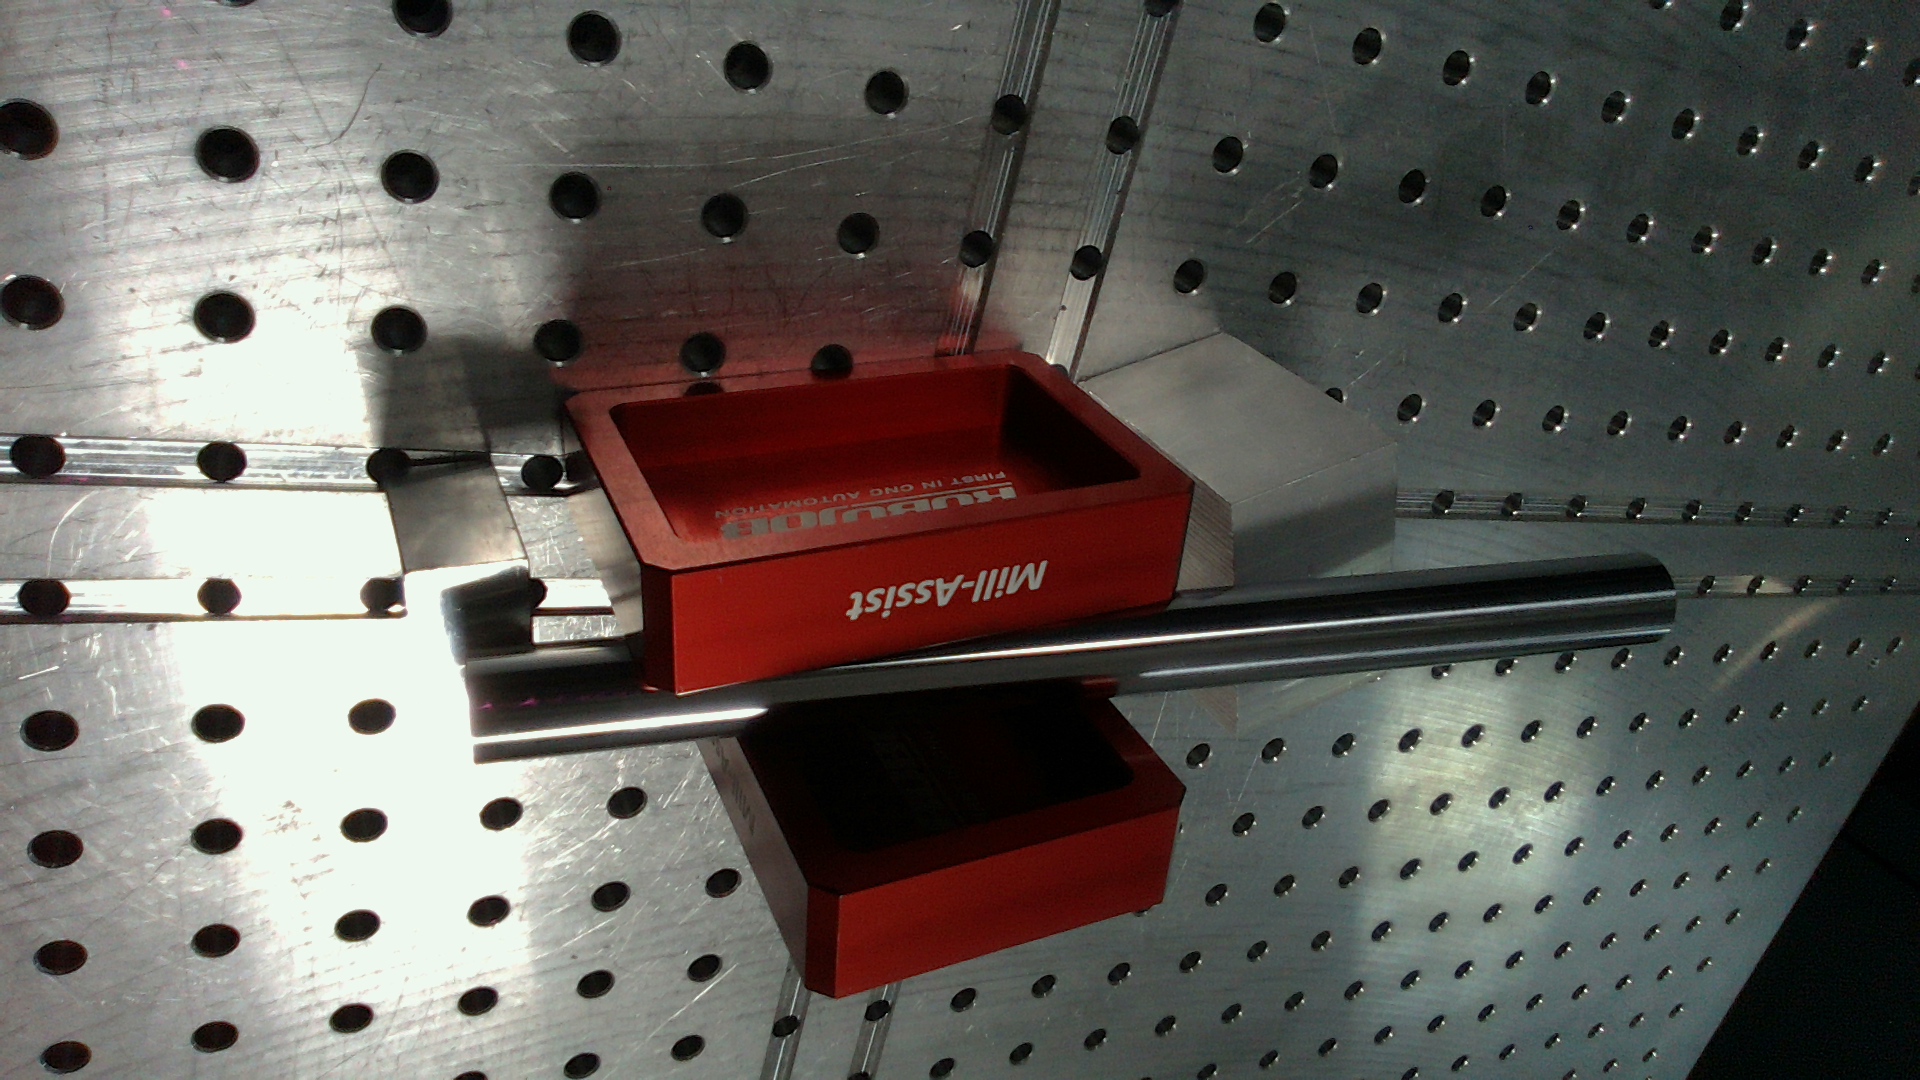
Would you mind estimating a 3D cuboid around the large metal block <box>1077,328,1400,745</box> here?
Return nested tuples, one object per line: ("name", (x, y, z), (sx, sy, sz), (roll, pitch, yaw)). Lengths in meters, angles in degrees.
("large metal block", (0.078, -0.003, 0.396), (0.050, 0.080, 0.080), (-21, 126, -16))

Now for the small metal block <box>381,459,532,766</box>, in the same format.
("small metal block", (-0.117, 0.016, 0.322), (0.025, 0.050, 0.050), (-8, 122, -24))

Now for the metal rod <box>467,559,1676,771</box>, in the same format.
("metal rod", (0.041, 0.027, 0.334), (0.301, 0.025, 0.025), (-4, 121, -16))

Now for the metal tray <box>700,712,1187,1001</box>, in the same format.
("metal tray", (-0.016, 0.046, 0.345), (0.090, 0.130, 0.030), (-9, 123, -24))

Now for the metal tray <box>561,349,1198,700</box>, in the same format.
("metal tray", (-0.021, -0.010, 0.332), (0.130, 0.090, 0.030), (-9, 123, -24))
